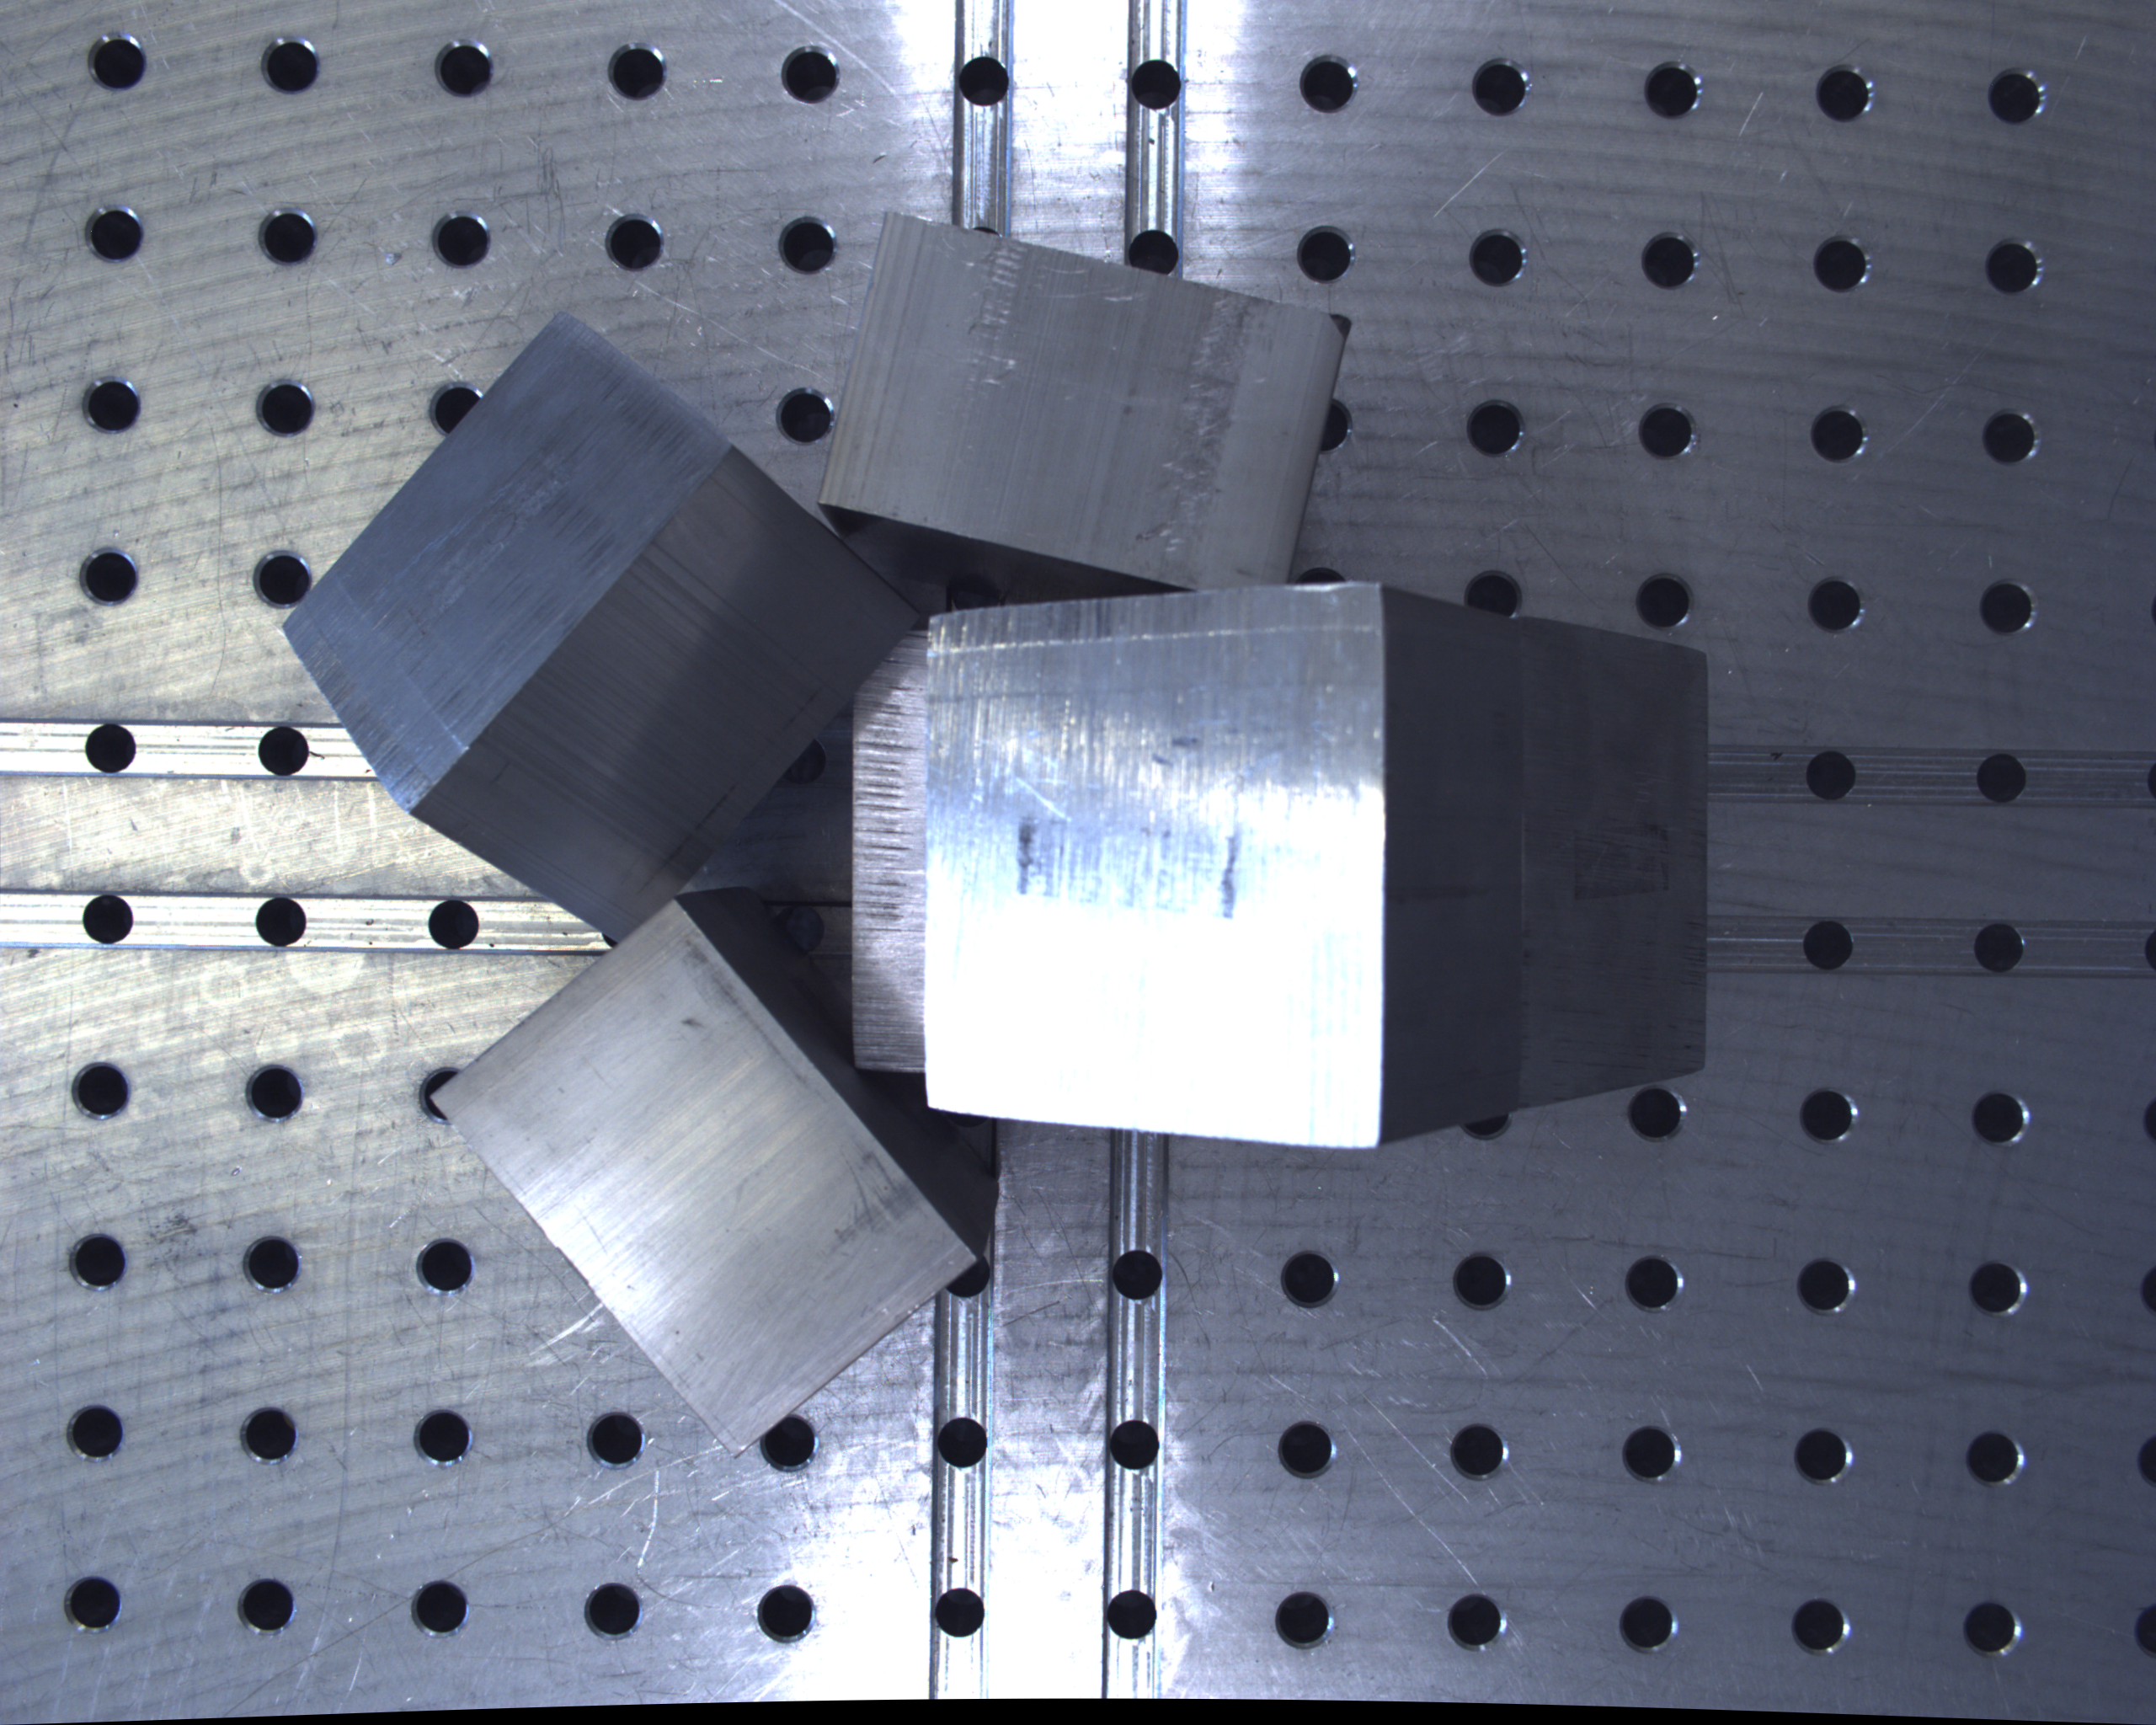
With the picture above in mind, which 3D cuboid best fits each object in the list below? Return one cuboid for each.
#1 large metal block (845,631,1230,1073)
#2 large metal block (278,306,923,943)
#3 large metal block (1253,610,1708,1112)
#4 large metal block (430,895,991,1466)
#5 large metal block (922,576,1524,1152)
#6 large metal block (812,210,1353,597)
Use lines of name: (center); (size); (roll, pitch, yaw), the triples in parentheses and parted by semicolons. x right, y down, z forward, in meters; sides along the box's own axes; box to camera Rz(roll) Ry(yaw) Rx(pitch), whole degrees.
large metal block: (-0.001, -0.002, 0.401); (0.080, 0.050, 0.080); (1, 90, 0)
large metal block: (-0.088, -0.044, 0.379); (0.080, 0.080, 0.050); (-49, 134, 0)
large metal block: (0.075, 0.000, 0.378); (0.050, 0.080, 0.080); (0, 89, 38)
large metal block: (-0.062, 0.053, 0.384); (0.050, 0.080, 0.080); (-40, 91, 0)
large metal block: (0.023, 0.000, 0.332); (0.080, 0.050, 0.080); (0, 89, 34)
large metal block: (0.001, -0.075, 0.386); (0.080, 0.080, 0.050); (13, 90, 0)
